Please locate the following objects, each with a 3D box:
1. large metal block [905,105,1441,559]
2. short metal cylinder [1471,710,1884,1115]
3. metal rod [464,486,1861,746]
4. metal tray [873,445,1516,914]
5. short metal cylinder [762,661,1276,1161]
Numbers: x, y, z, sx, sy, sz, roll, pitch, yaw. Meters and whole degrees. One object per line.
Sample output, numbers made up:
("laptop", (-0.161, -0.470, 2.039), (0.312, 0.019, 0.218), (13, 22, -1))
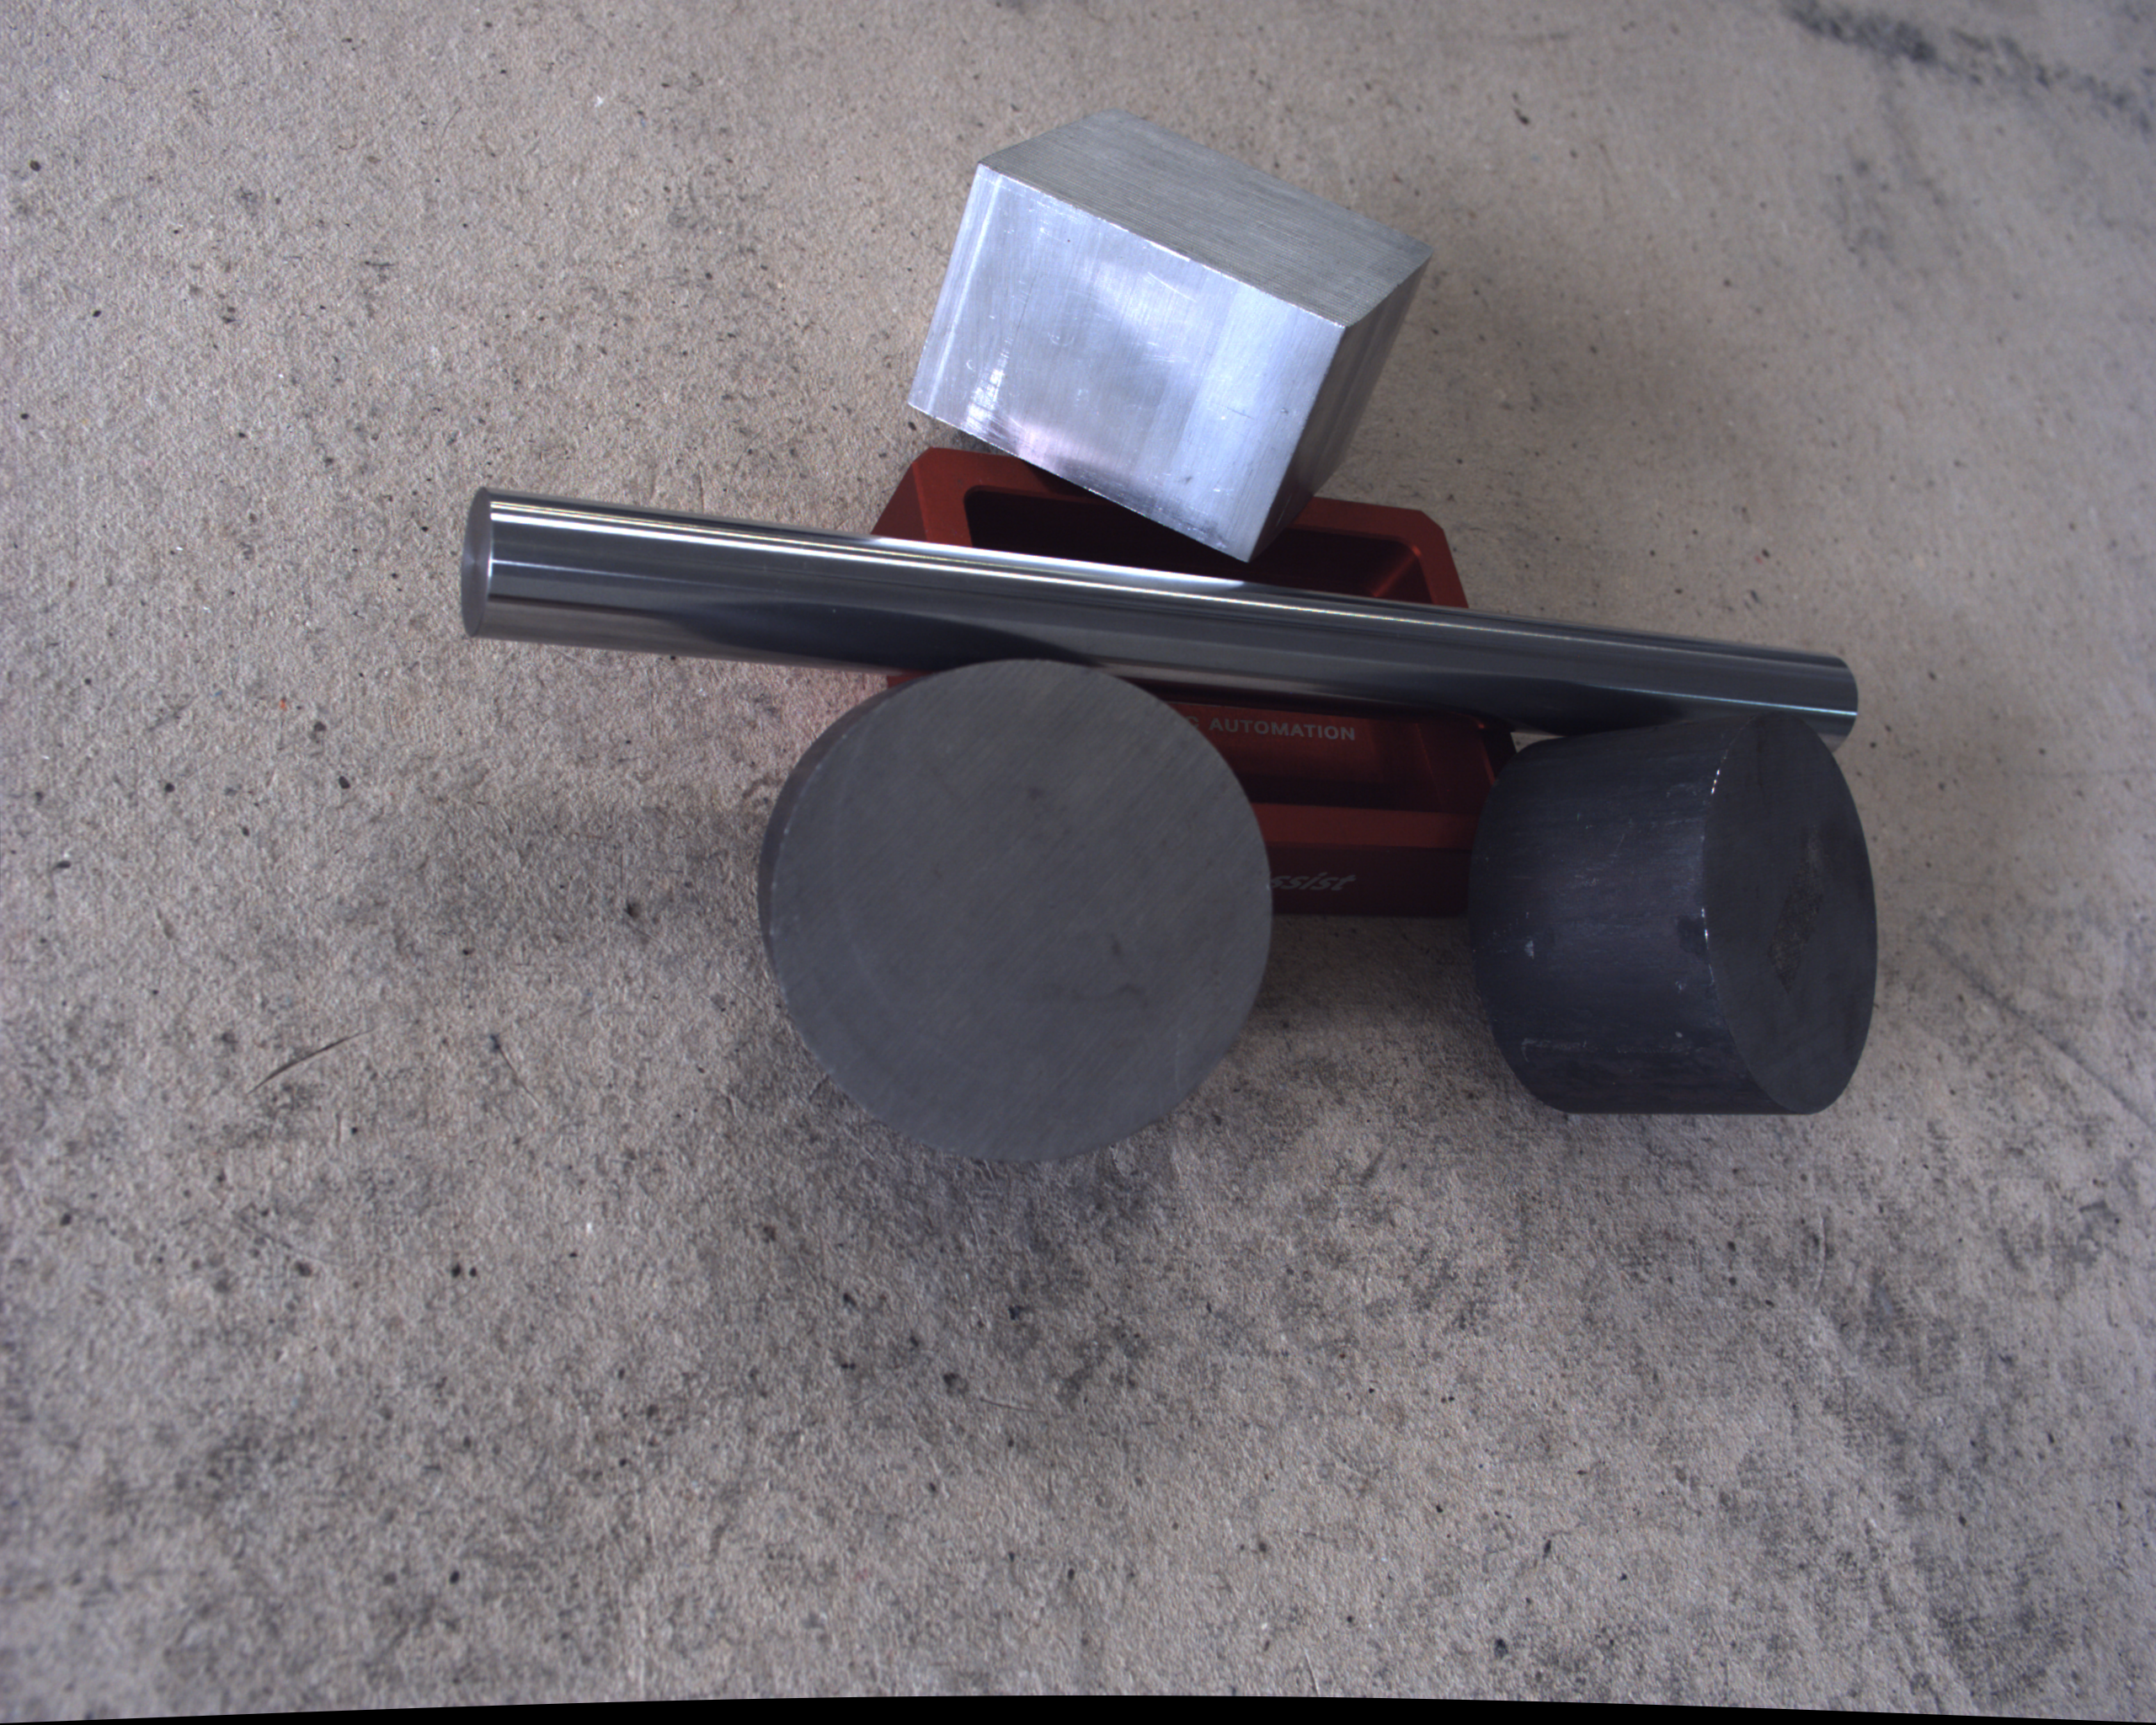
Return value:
("large metal block", (0.022, -0.116, 0.444), (0.080, 0.050, 0.080), (27, 34, 8))
("short metal cylinder", (0.124, 0.012, 0.428), (0.081, 0.050, 0.080), (8, 79, -47))
("metal rod", (0.036, -0.043, 0.412), (0.302, 0.025, 0.025), (3, 61, -27))
("metal tray", (0.027, -0.036, 0.439), (0.131, 0.030, 0.090), (2, 61, -27))
("short metal cylinder", (-0.012, 0.006, 0.355), (0.081, 0.050, 0.079), (-1, 93, -11))
